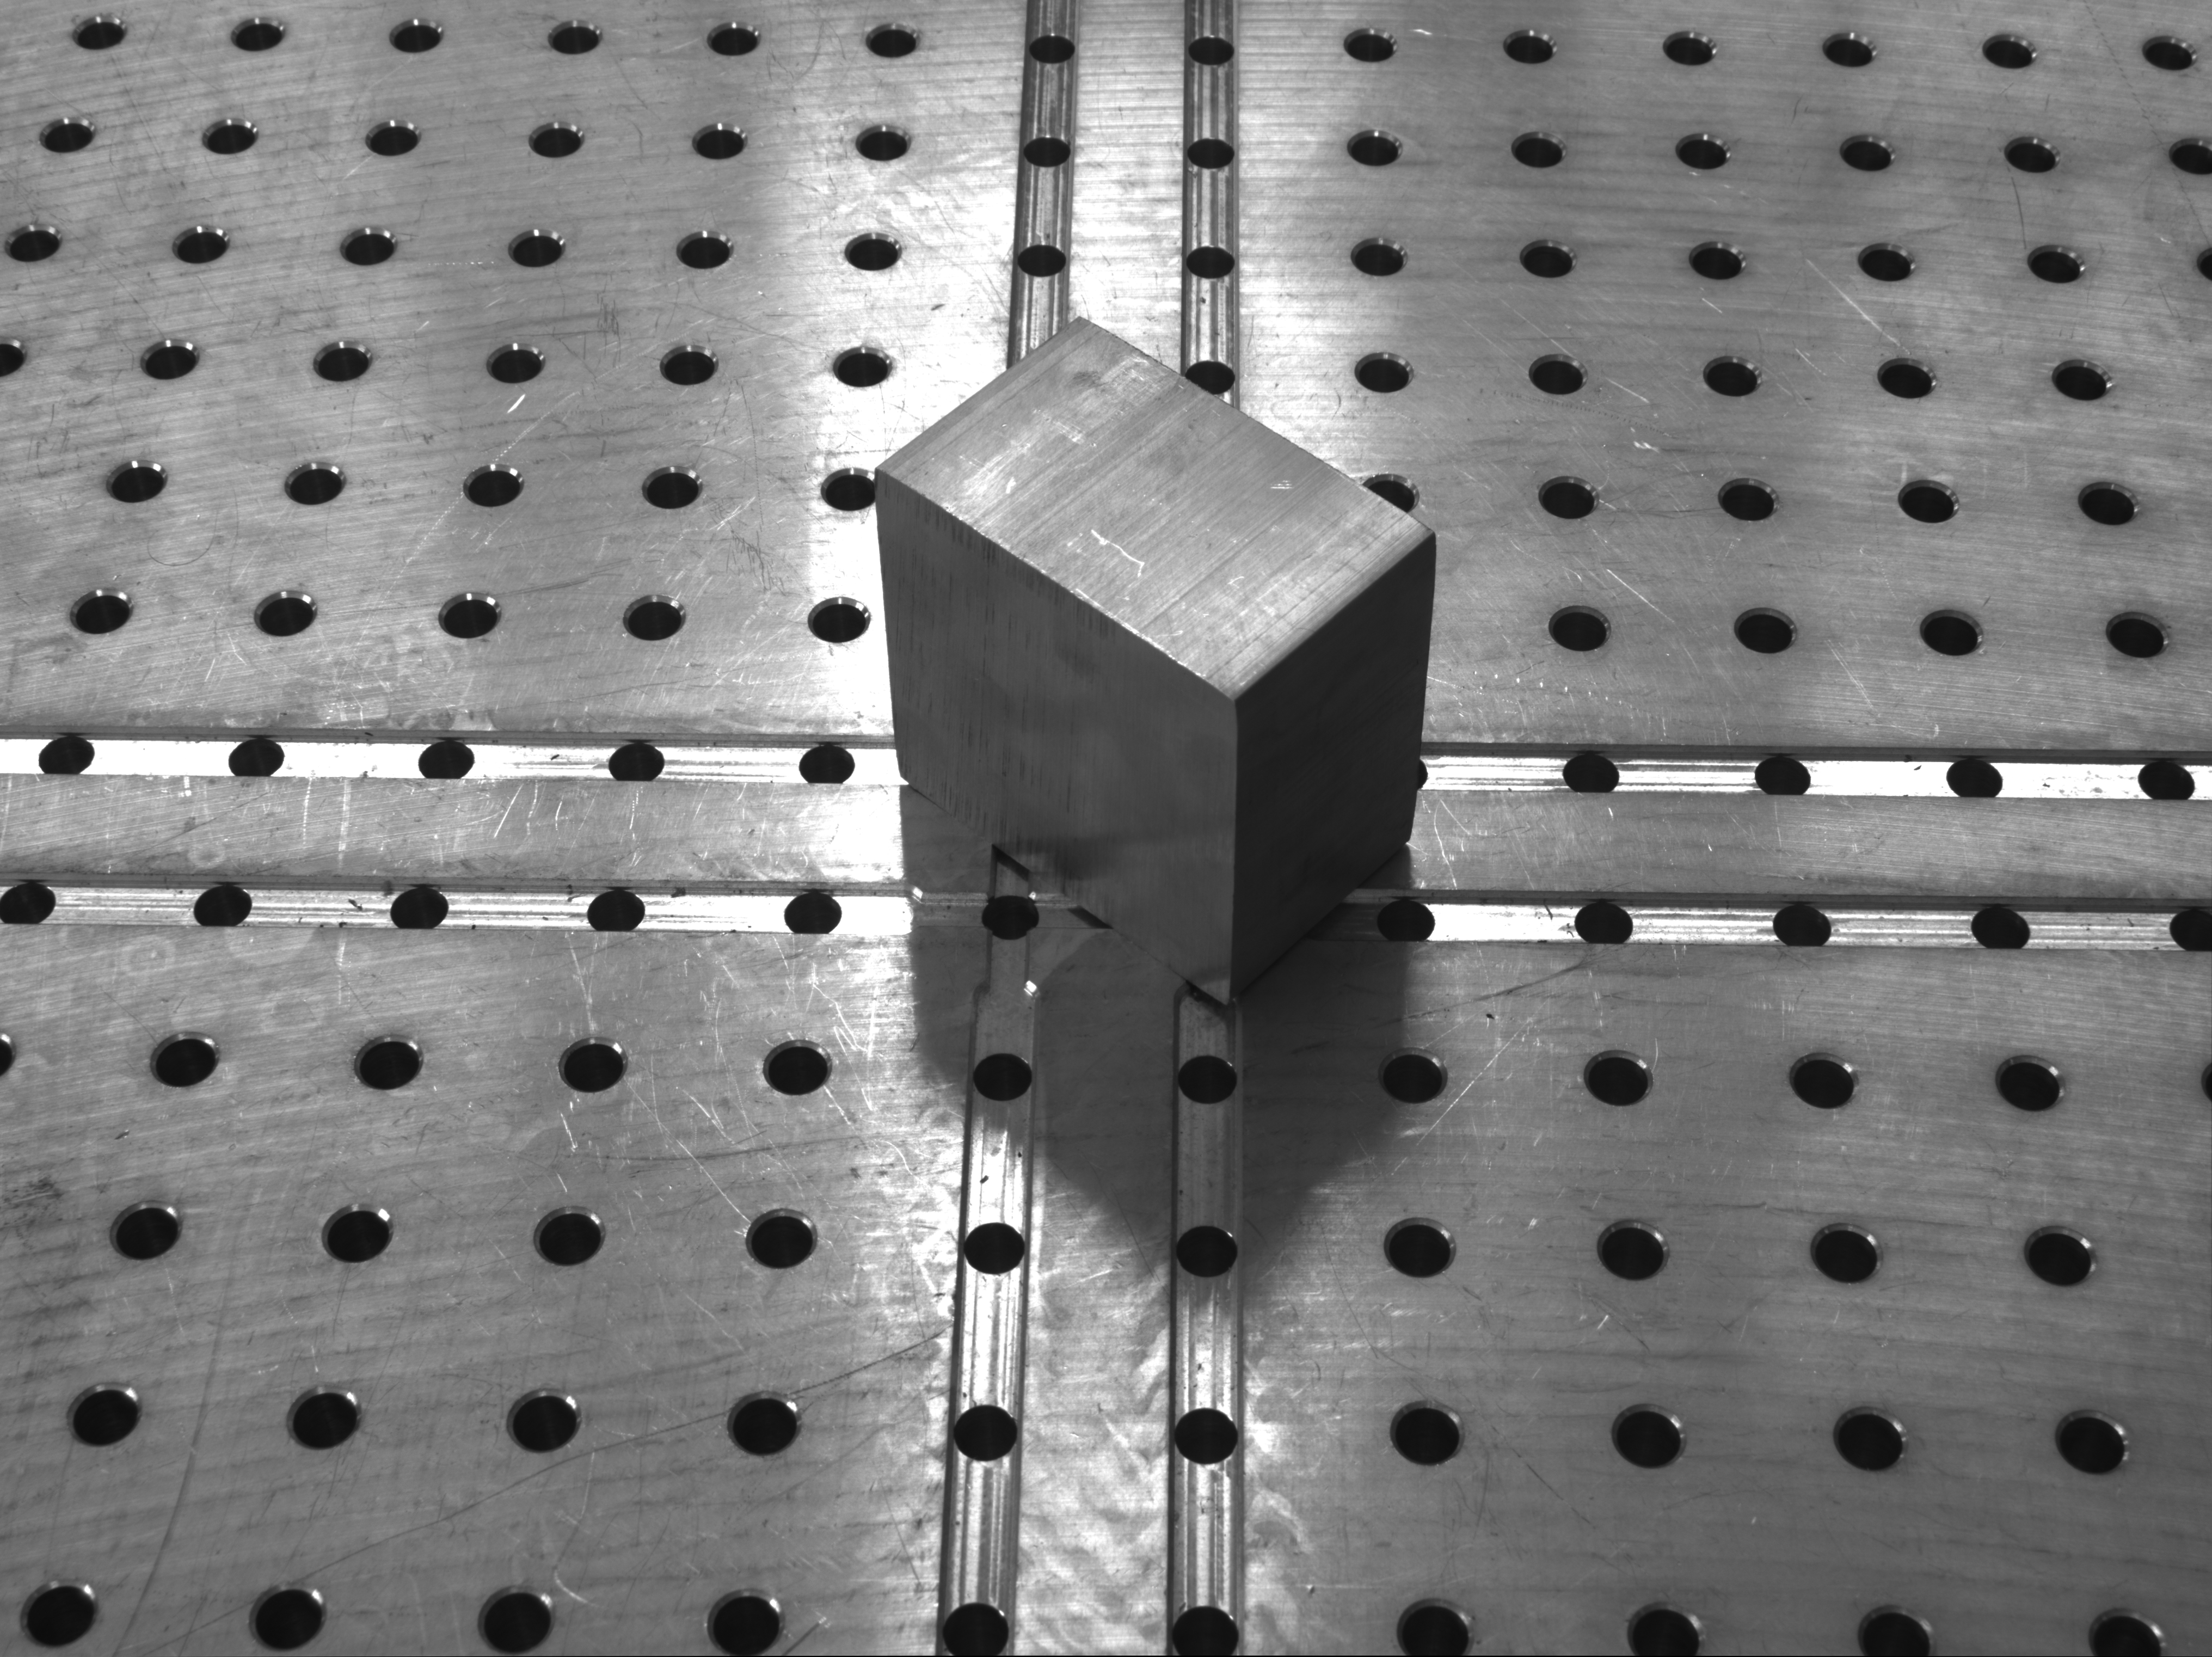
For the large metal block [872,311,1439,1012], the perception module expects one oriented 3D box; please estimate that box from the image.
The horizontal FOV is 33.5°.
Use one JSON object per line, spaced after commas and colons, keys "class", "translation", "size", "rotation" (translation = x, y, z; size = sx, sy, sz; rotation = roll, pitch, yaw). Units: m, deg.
{"class": "large metal block", "translation": [0.008, -0.029, 0.633], "size": [0.080, 0.080, 0.050], "rotation": [34, 58, 25]}
